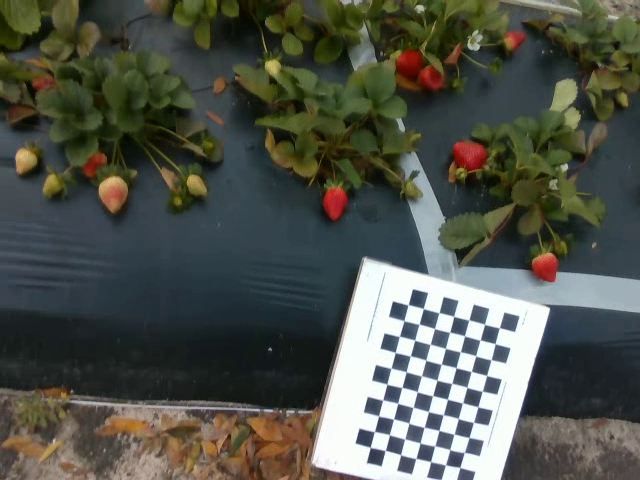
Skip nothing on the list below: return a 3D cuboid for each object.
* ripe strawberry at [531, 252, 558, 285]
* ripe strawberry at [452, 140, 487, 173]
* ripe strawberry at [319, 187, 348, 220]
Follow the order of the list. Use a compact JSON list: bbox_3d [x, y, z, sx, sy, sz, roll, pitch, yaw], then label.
[{"bbox_3d":[0.308,0.046,0.750,0.039,0.046,0.041,-20,2,8],"label":"ripe strawberry"},{"bbox_3d":[0.211,-0.114,0.775,0.062,0.043,0.042,34,10,-1],"label":"ripe strawberry"},{"bbox_3d":[0.019,-0.035,0.683,0.036,0.046,0.040,0,-37,6],"label":"ripe strawberry"}]
